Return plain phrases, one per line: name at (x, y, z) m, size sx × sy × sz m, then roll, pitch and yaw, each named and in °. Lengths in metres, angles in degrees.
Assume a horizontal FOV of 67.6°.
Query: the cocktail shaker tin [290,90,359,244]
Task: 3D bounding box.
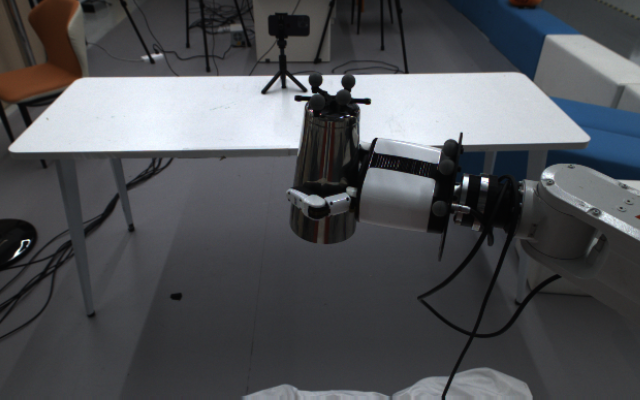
cocktail shaker tin at (0.012, -0.040, 0.614) m, size 0.093 × 0.170 × 0.093 m, roll 3°, pitch 34°, yaw -2°
